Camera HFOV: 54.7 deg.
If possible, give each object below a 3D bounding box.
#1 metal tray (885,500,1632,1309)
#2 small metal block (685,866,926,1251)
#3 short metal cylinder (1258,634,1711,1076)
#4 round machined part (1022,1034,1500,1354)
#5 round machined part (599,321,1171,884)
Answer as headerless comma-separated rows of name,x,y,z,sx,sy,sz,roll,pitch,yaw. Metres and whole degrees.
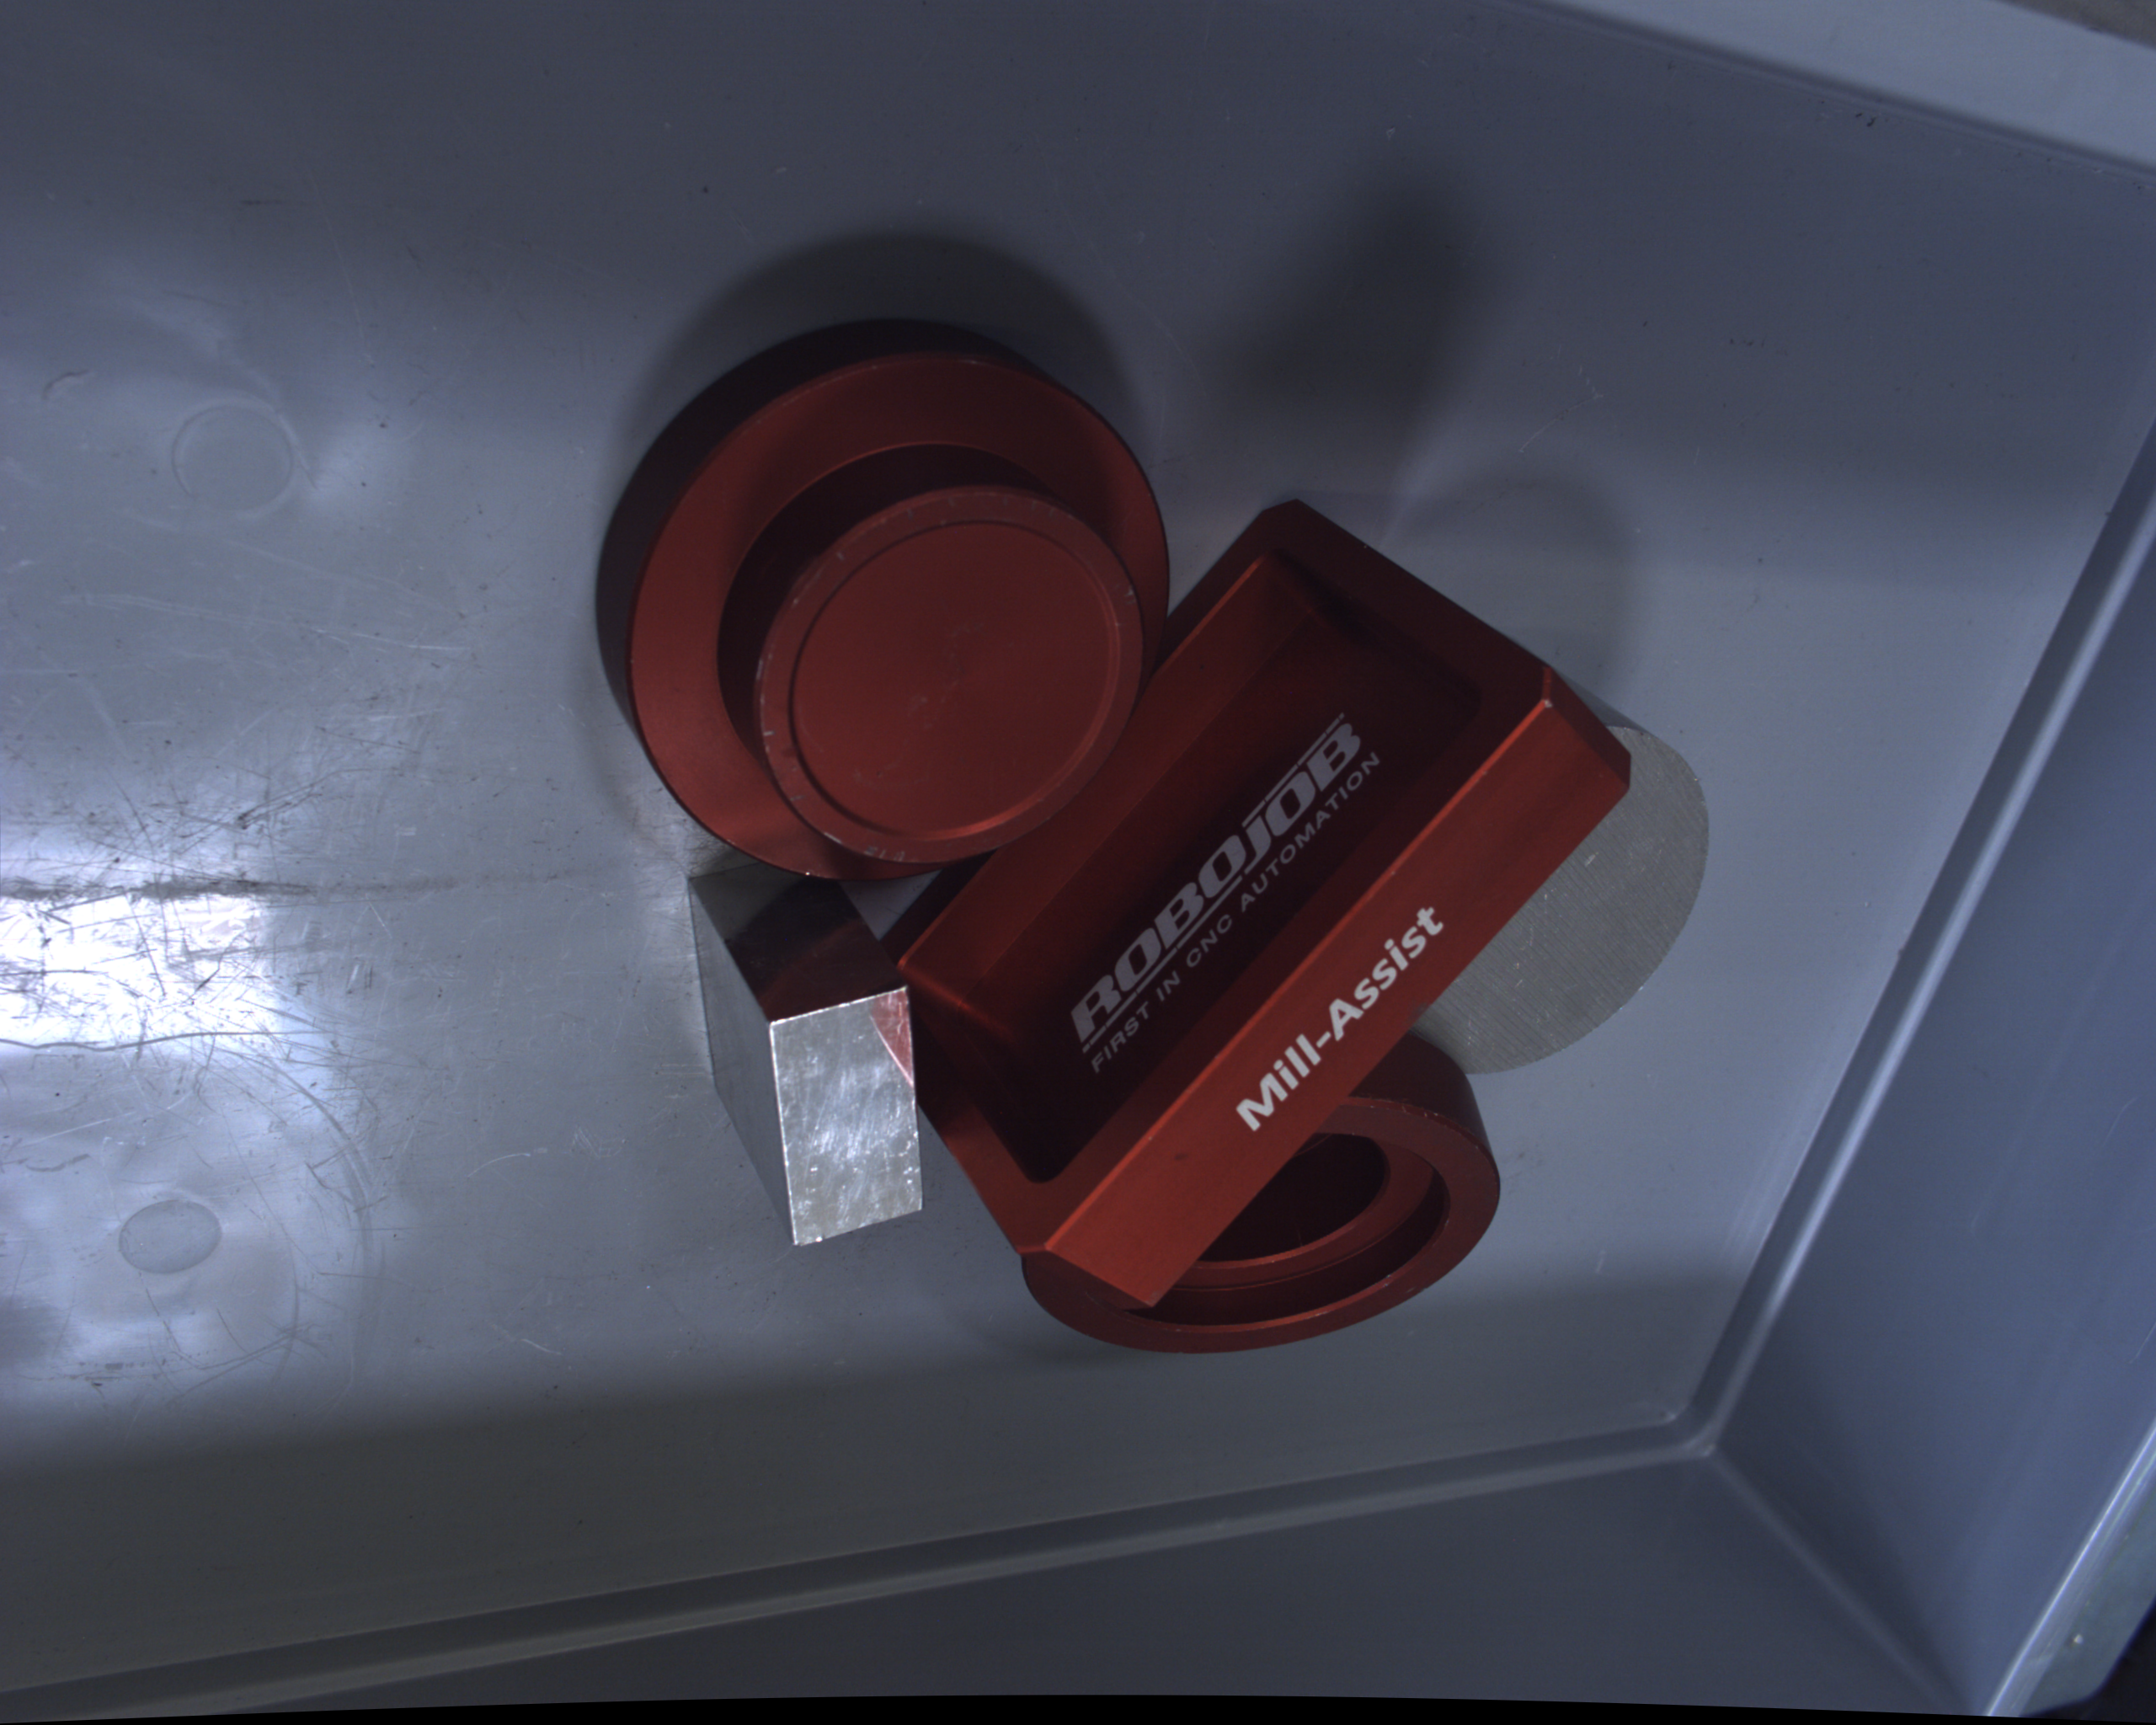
metal tray,0.025,0.004,0.380,0.130,0.090,0.030,-48,129,5
small metal block,-0.050,0.034,0.383,0.025,0.050,0.050,-14,125,-21
short metal cylinder,0.082,-0.003,0.433,0.081,0.050,0.079,-14,124,-21
round machined part,0.035,0.061,0.437,0.099,0.042,0.097,-7,140,-5
round machined part,-0.028,-0.038,0.356,0.099,0.042,0.097,-14,124,-21
